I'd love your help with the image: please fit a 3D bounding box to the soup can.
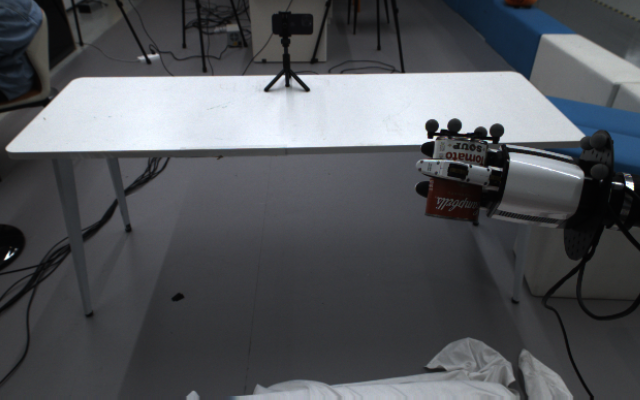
[{"bbox_3d":[0.176,-0.027,0.620,0.067,0.101,0.067,7,3,0],"label":"soup can"}]
